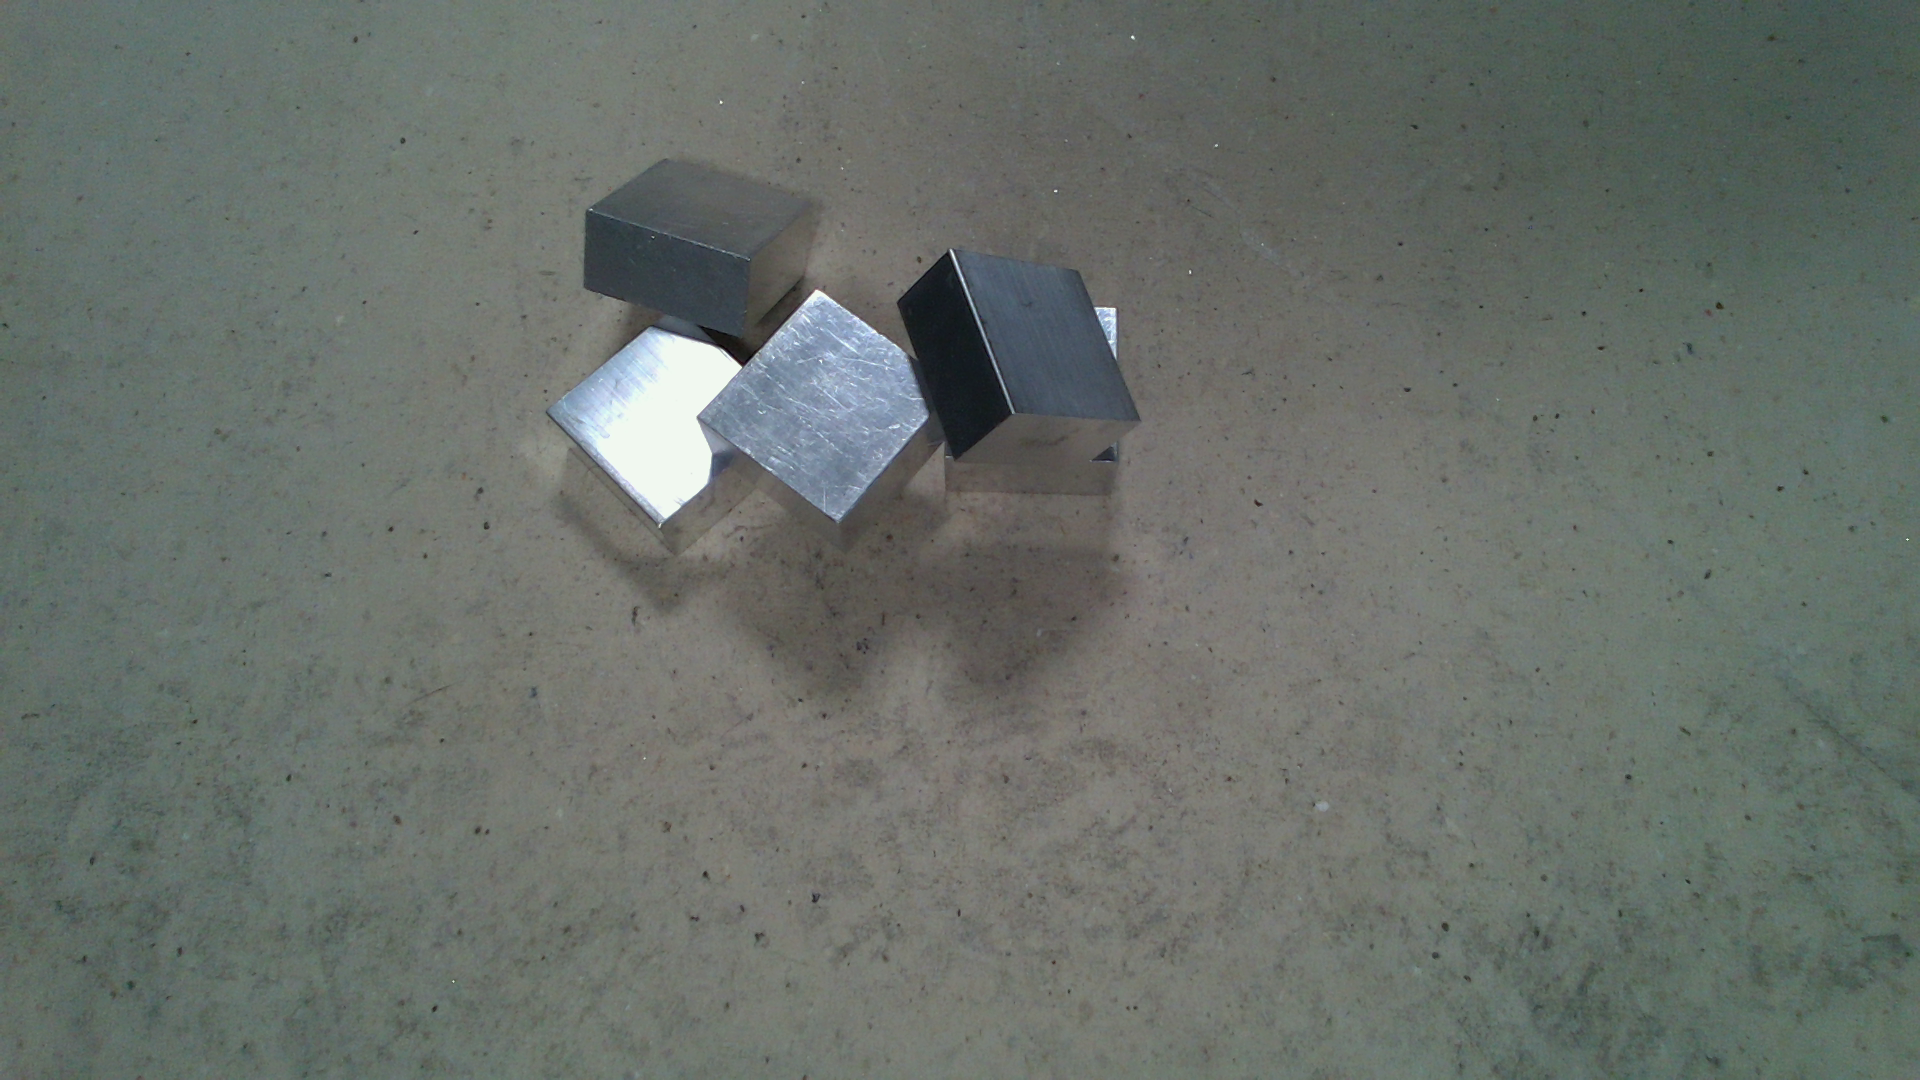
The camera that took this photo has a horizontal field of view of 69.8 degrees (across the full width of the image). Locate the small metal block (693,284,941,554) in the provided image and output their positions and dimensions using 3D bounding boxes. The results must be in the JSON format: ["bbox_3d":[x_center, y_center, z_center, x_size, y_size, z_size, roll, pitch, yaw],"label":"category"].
[{"bbox_3d":[-0.036,-0.033,0.379,0.050,0.025,0.050,36,74,12],"label":"small metal block"}]

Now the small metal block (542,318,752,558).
[{"bbox_3d":[-0.084,-0.032,0.406,0.050,0.025,0.050,-43,75,-14],"label":"small metal block"}]

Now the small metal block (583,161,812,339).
[{"bbox_3d":[-0.078,-0.089,0.415,0.050,0.025,0.050,18,34,6],"label":"small metal block"}]

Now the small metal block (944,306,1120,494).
[{"bbox_3d":[0.021,-0.042,0.410,0.050,0.025,0.050,2,70,1],"label":"small metal block"}]

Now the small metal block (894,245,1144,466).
[{"bbox_3d":[0.016,-0.049,0.373,0.050,0.025,0.050,-1,64,-43],"label":"small metal block"}]
